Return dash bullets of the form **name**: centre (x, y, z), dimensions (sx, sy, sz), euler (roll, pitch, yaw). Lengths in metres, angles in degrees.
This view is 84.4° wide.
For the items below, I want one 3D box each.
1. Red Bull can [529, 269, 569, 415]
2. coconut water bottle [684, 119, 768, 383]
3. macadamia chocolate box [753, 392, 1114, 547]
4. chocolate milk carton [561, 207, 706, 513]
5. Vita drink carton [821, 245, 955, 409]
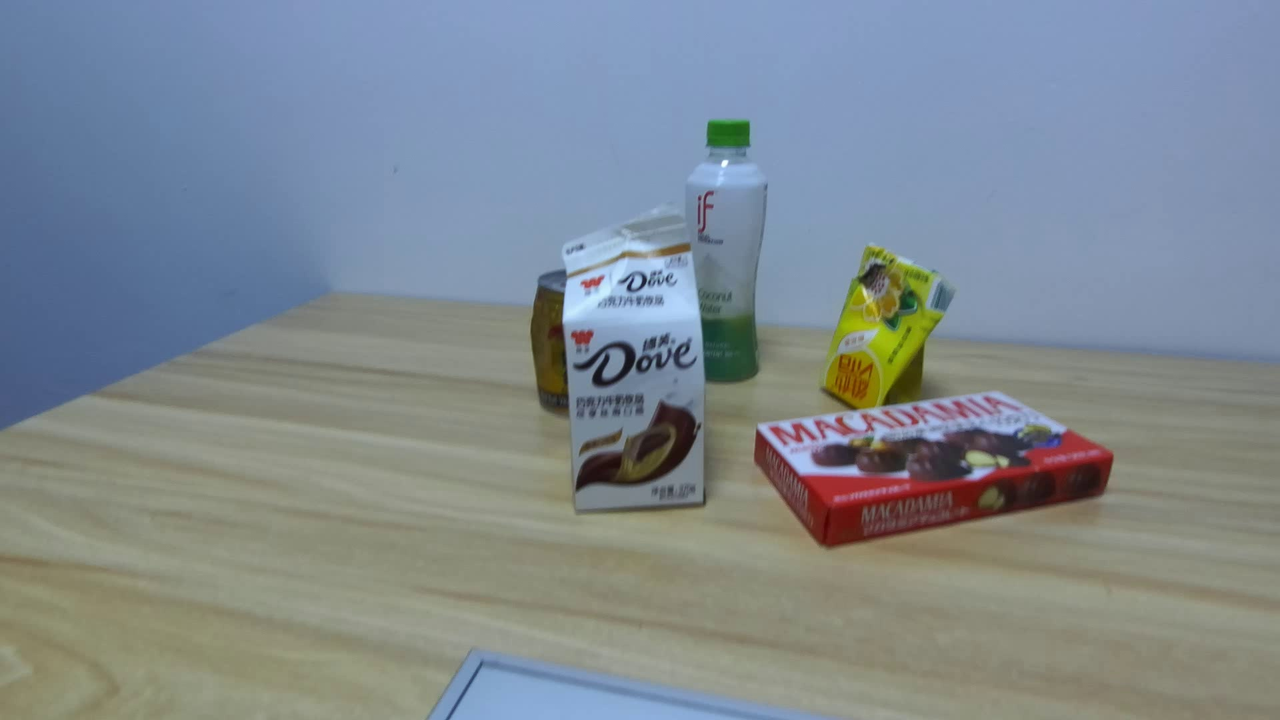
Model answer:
- **Red Bull can**: centre (-0.047, -0.015, 0.539), dimensions (0.072, 0.092, 0.072), euler (0, 16, 0)
- **coconut water bottle**: centre (0.064, -0.081, 0.535), dimensions (0.063, 0.188, 0.063), euler (0, 19, 0)
- **macadamia chocolate box**: centre (0.165, 0.058, 0.412), dimensions (0.178, 0.027, 0.095), euler (-6, 22, -15)
- **chocolate milk carton**: centre (-0.002, -0.004, 0.390), dimensions (0.076, 0.155, 0.073), euler (-2, 21, -2)
- **Vita drink carton**: centre (0.175, -0.020, 0.497), dimensions (0.042, 0.108, 0.086), euler (5, 19, -28)
